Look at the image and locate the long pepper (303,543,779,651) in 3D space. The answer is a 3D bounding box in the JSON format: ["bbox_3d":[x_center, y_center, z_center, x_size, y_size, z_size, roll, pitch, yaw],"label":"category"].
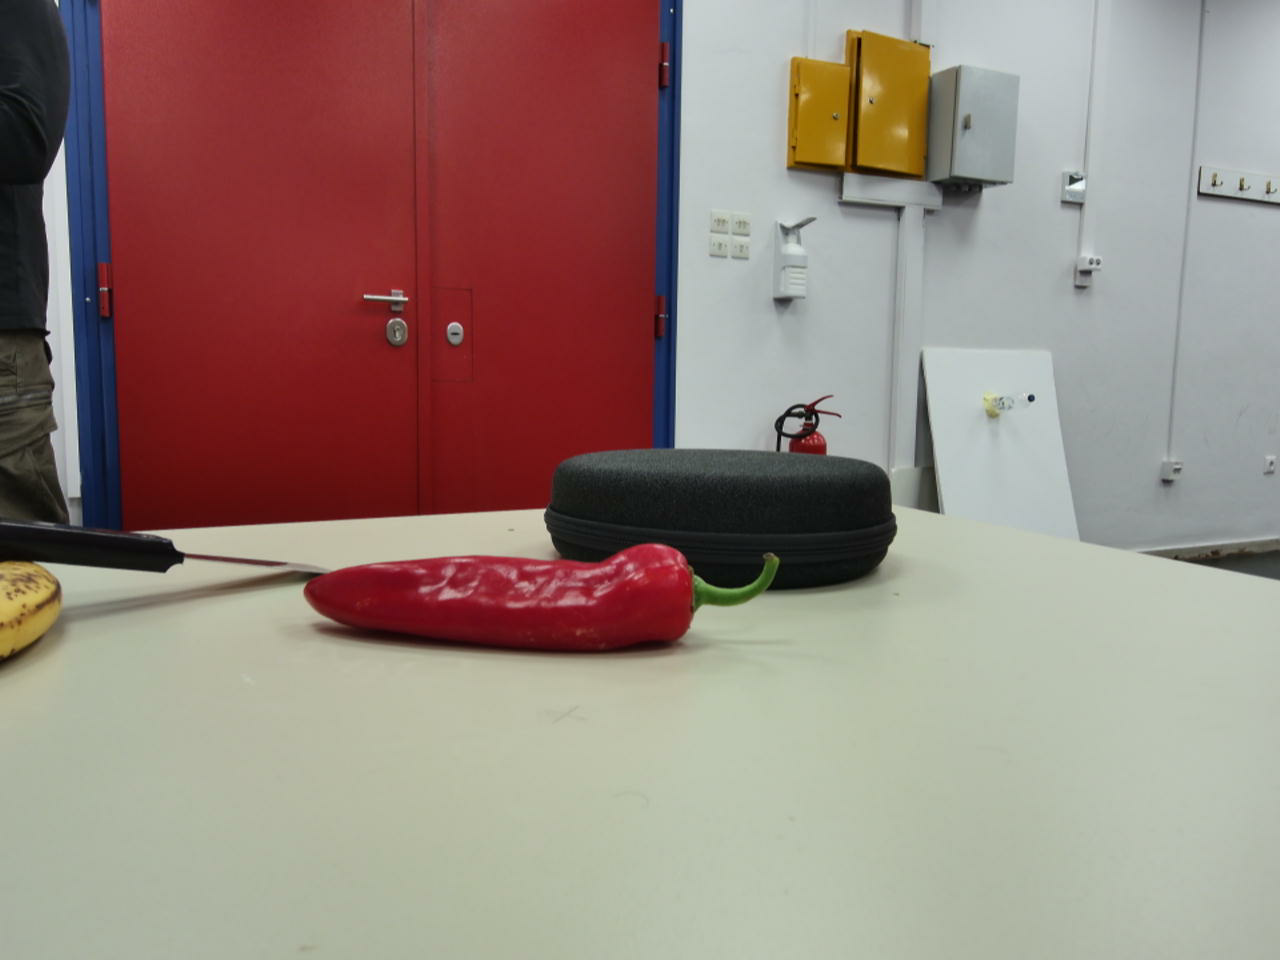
[{"bbox_3d":[-0.047,0.049,0.432,0.211,0.043,0.050,0,4,6],"label":"long pepper"}]
